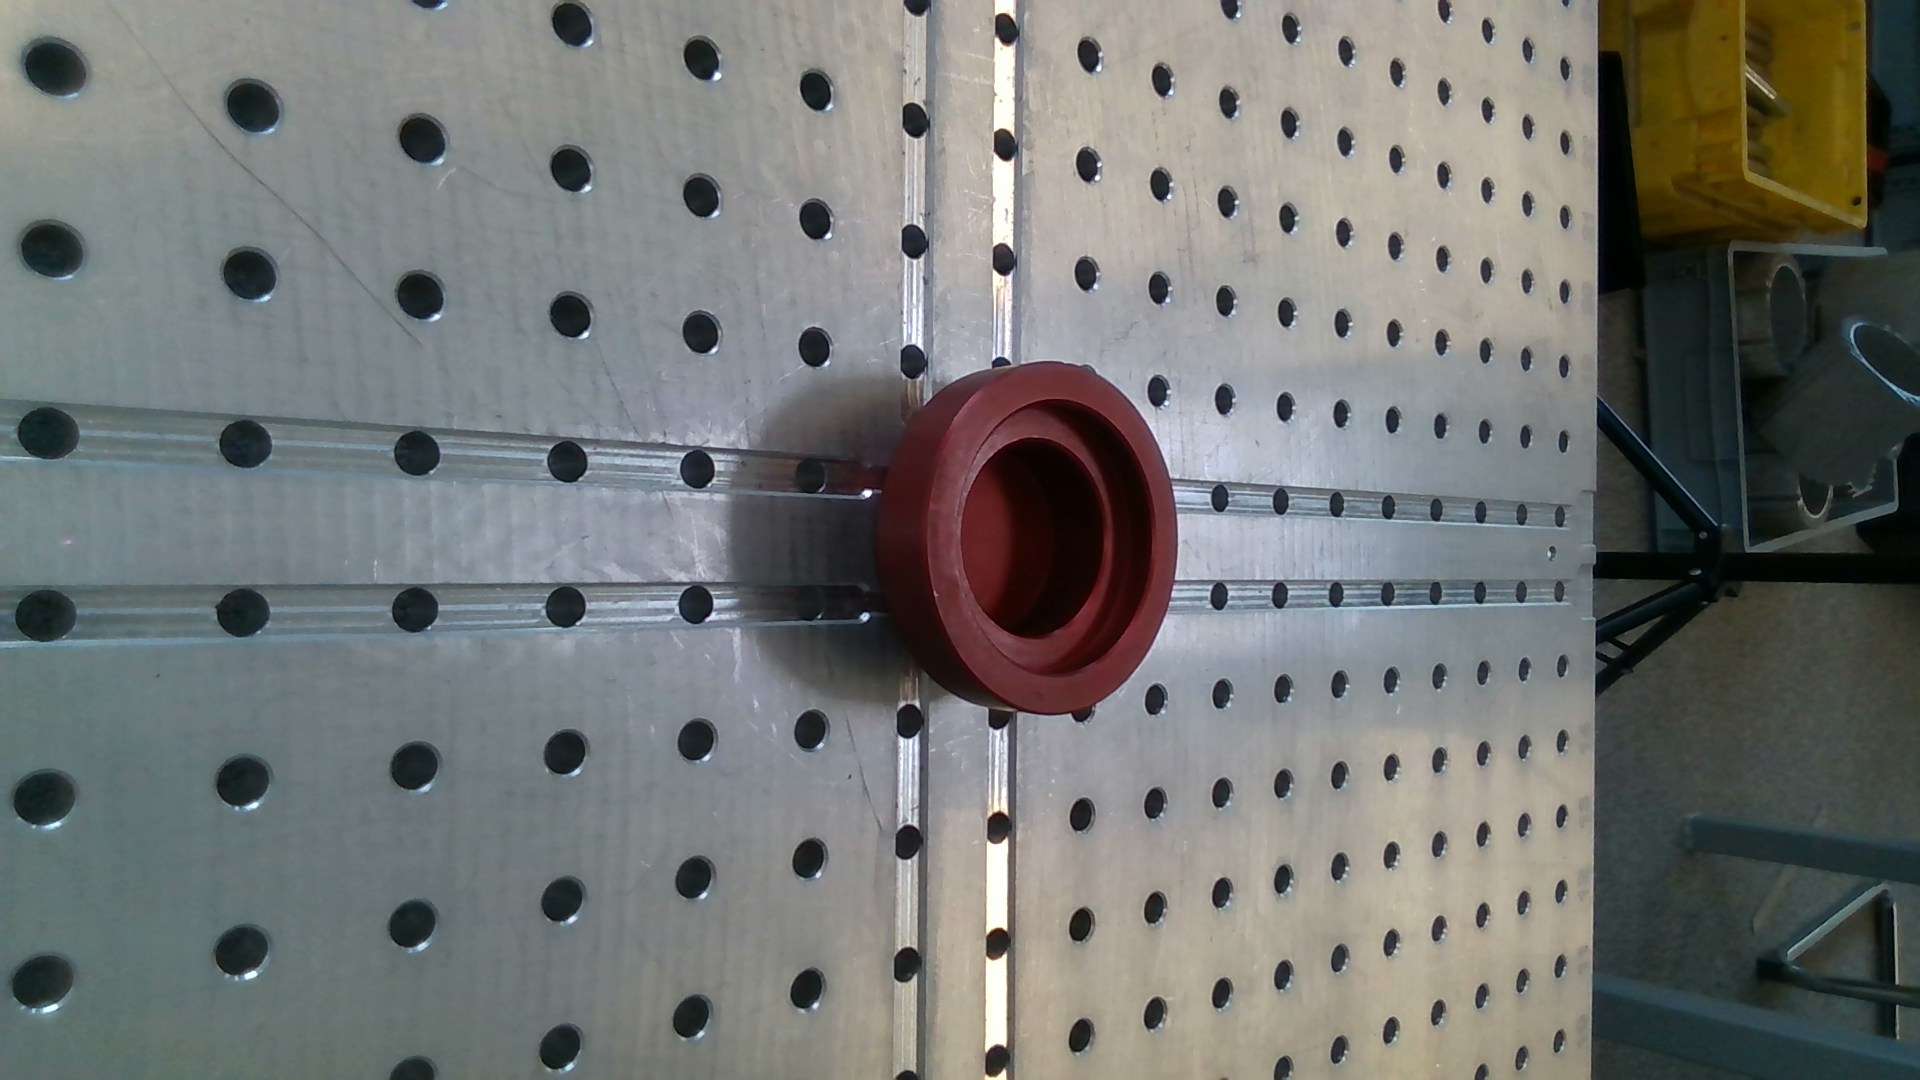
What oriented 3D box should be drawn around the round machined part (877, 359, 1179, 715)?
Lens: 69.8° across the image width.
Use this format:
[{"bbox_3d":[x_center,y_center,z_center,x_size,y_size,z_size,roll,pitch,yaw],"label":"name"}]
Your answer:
[{"bbox_3d":[0.015,-0.001,0.395,0.098,0.042,0.098,0,90,-40],"label":"round machined part"}]
